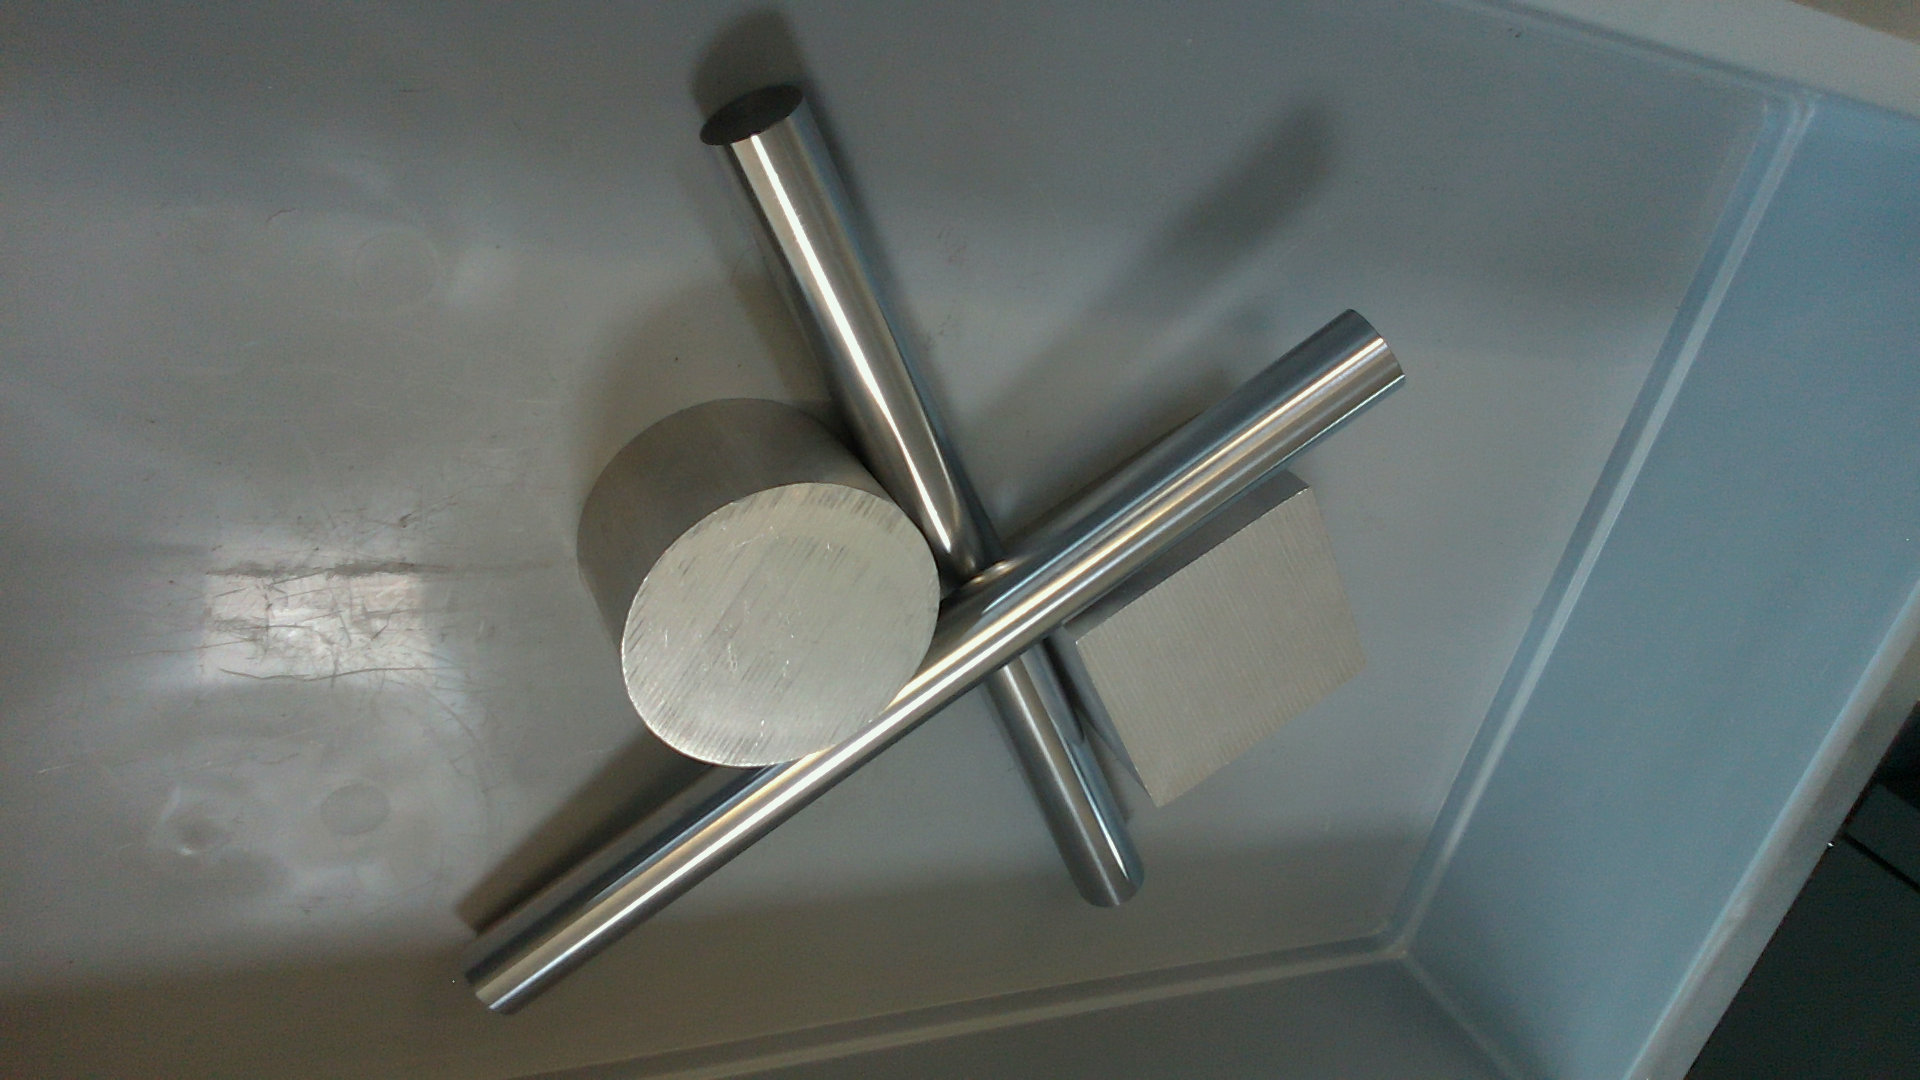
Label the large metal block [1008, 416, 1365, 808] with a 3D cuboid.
[{"bbox_3d":[0.068,0.021,0.420,0.080,0.050,0.080,-33,129,-6],"label":"large metal block"}]

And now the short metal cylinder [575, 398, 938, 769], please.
[{"bbox_3d":[-0.052,0.011,0.350,0.080,0.050,0.080,-14,124,-21],"label":"short metal cylinder"}]

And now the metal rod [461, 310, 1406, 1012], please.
[{"bbox_3d":[-0.012,0.037,0.377,0.300,0.025,0.025,-36,130,6],"label":"metal rod"}]

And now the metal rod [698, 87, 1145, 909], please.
[{"bbox_3d":[0.004,0.013,0.397,0.025,0.025,0.300,-31,129,-8],"label":"metal rod"}]
